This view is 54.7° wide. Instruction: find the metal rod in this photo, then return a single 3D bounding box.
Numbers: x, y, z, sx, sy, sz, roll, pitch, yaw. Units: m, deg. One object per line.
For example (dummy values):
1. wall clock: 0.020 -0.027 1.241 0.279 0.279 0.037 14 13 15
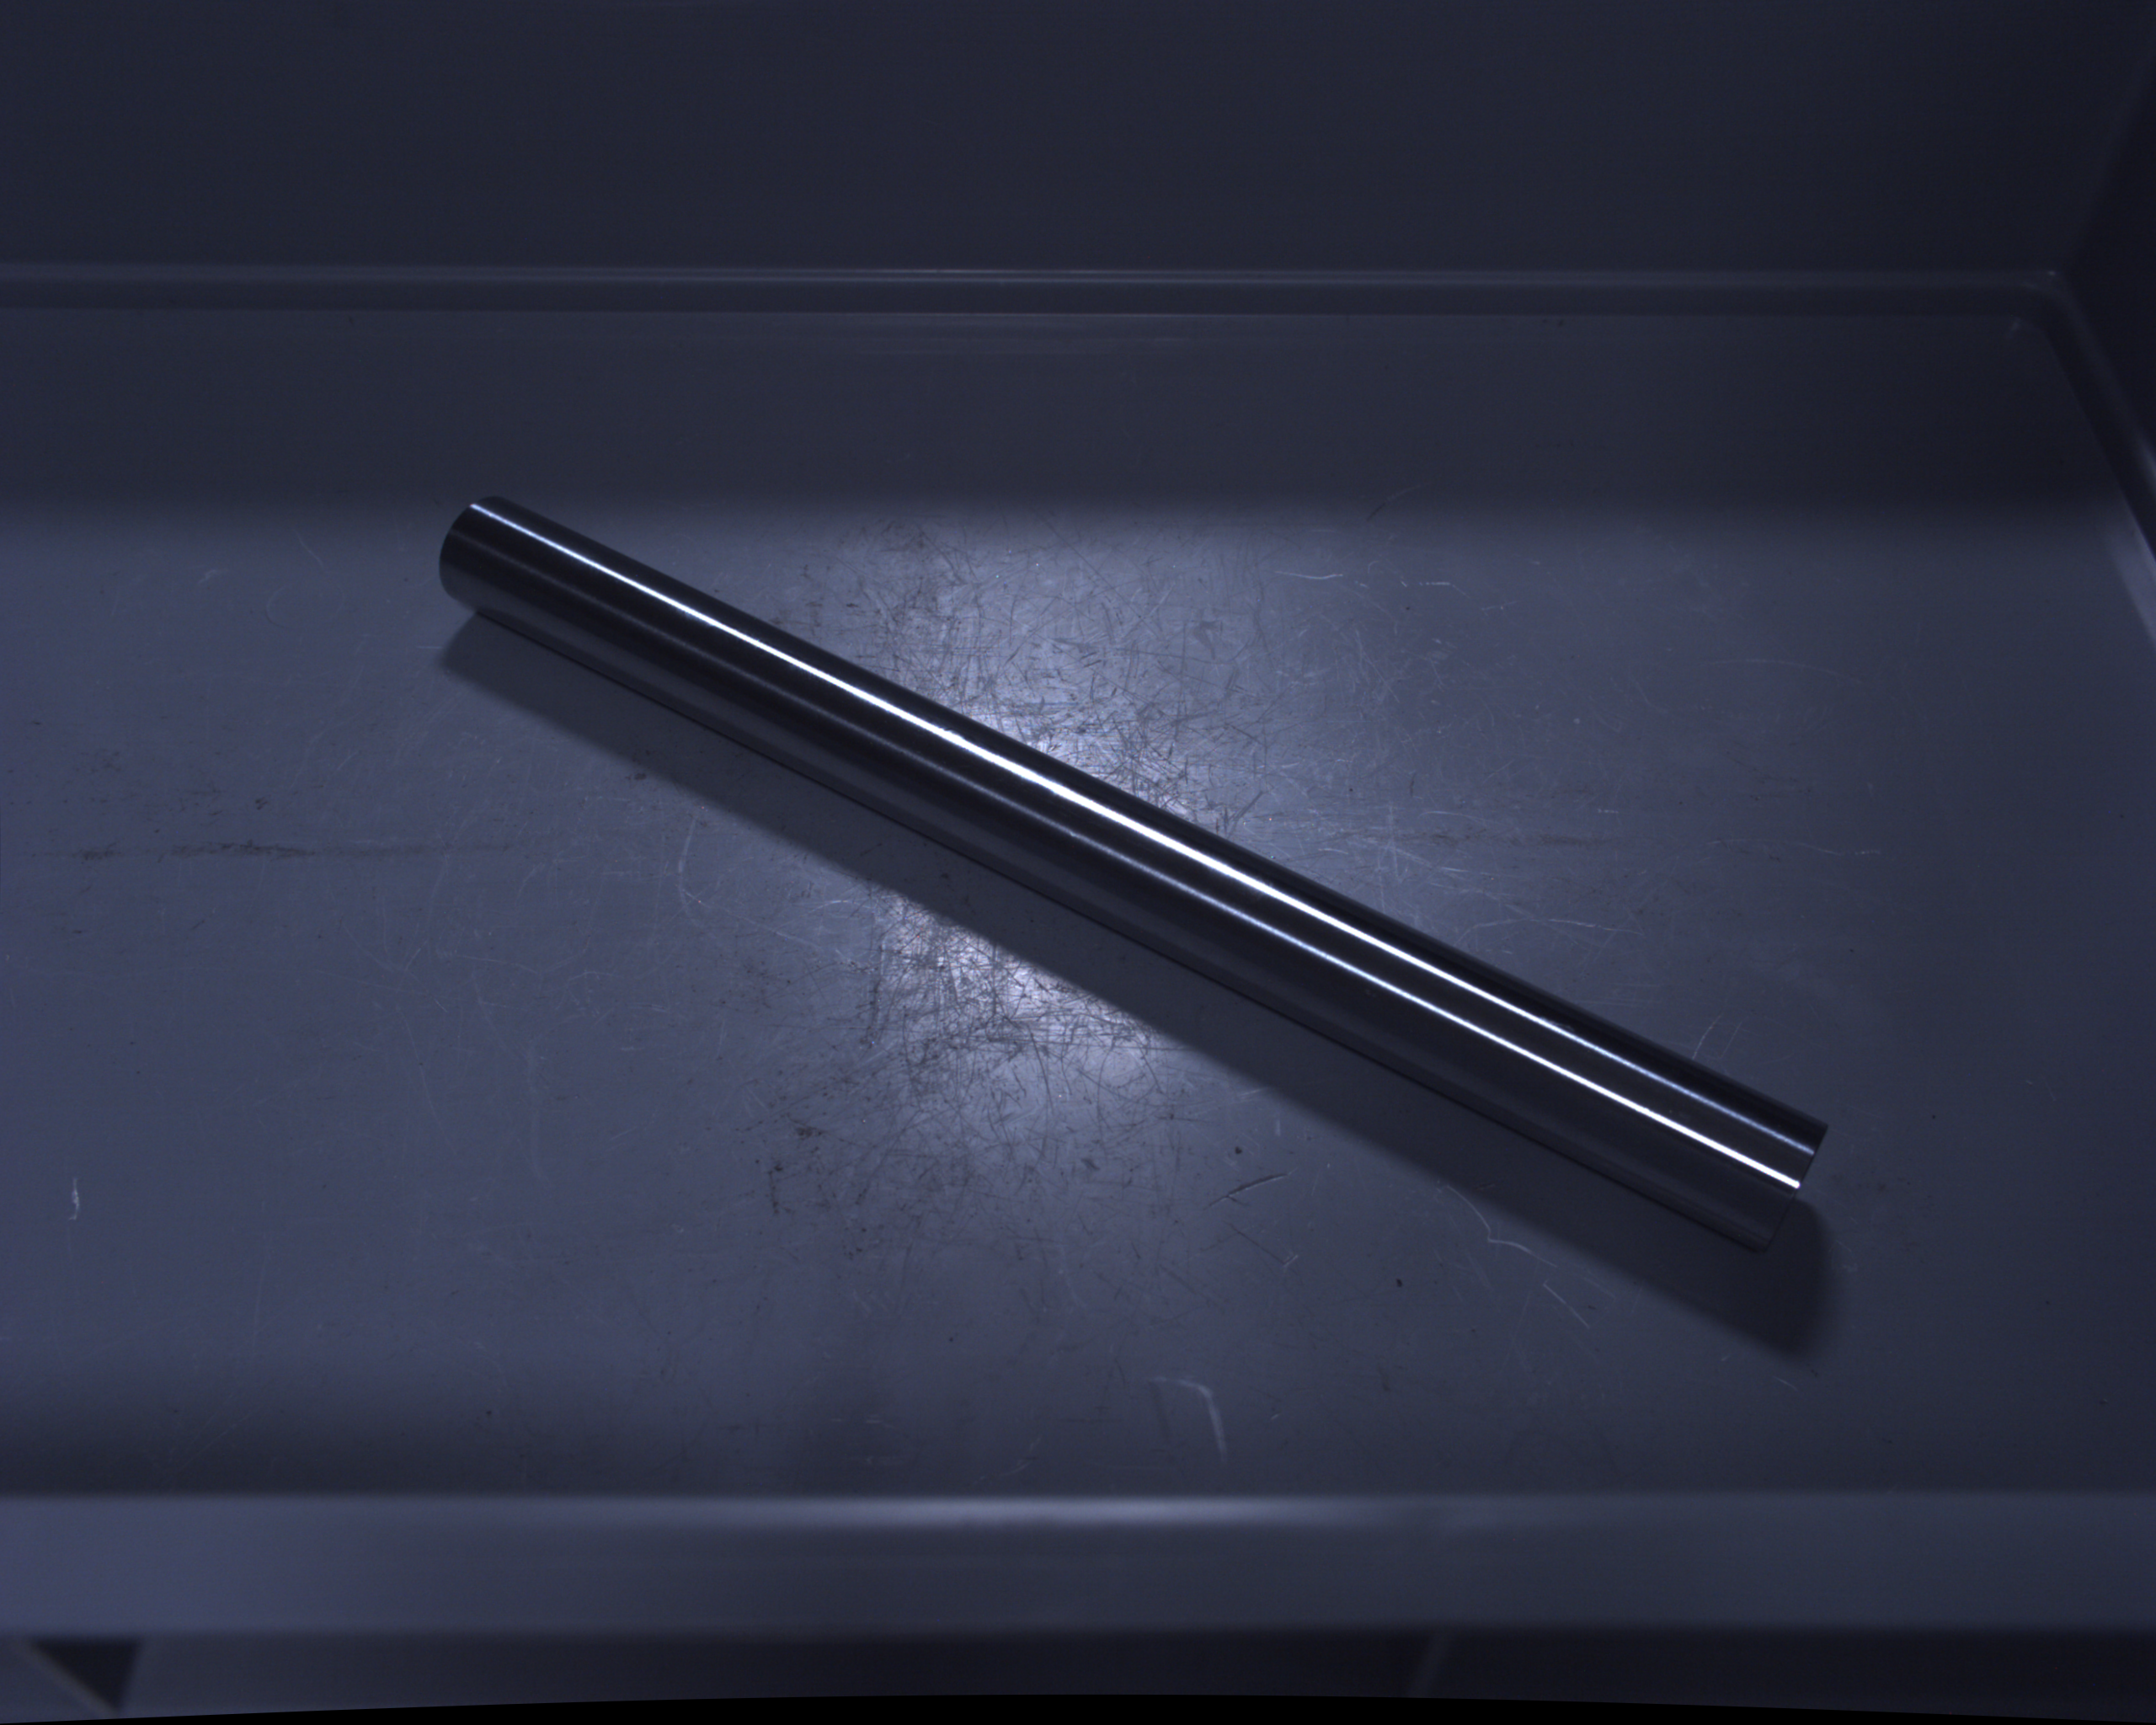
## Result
1. metal rod: -0.004 -0.007 0.408 0.301 0.025 0.025 26 55 20
